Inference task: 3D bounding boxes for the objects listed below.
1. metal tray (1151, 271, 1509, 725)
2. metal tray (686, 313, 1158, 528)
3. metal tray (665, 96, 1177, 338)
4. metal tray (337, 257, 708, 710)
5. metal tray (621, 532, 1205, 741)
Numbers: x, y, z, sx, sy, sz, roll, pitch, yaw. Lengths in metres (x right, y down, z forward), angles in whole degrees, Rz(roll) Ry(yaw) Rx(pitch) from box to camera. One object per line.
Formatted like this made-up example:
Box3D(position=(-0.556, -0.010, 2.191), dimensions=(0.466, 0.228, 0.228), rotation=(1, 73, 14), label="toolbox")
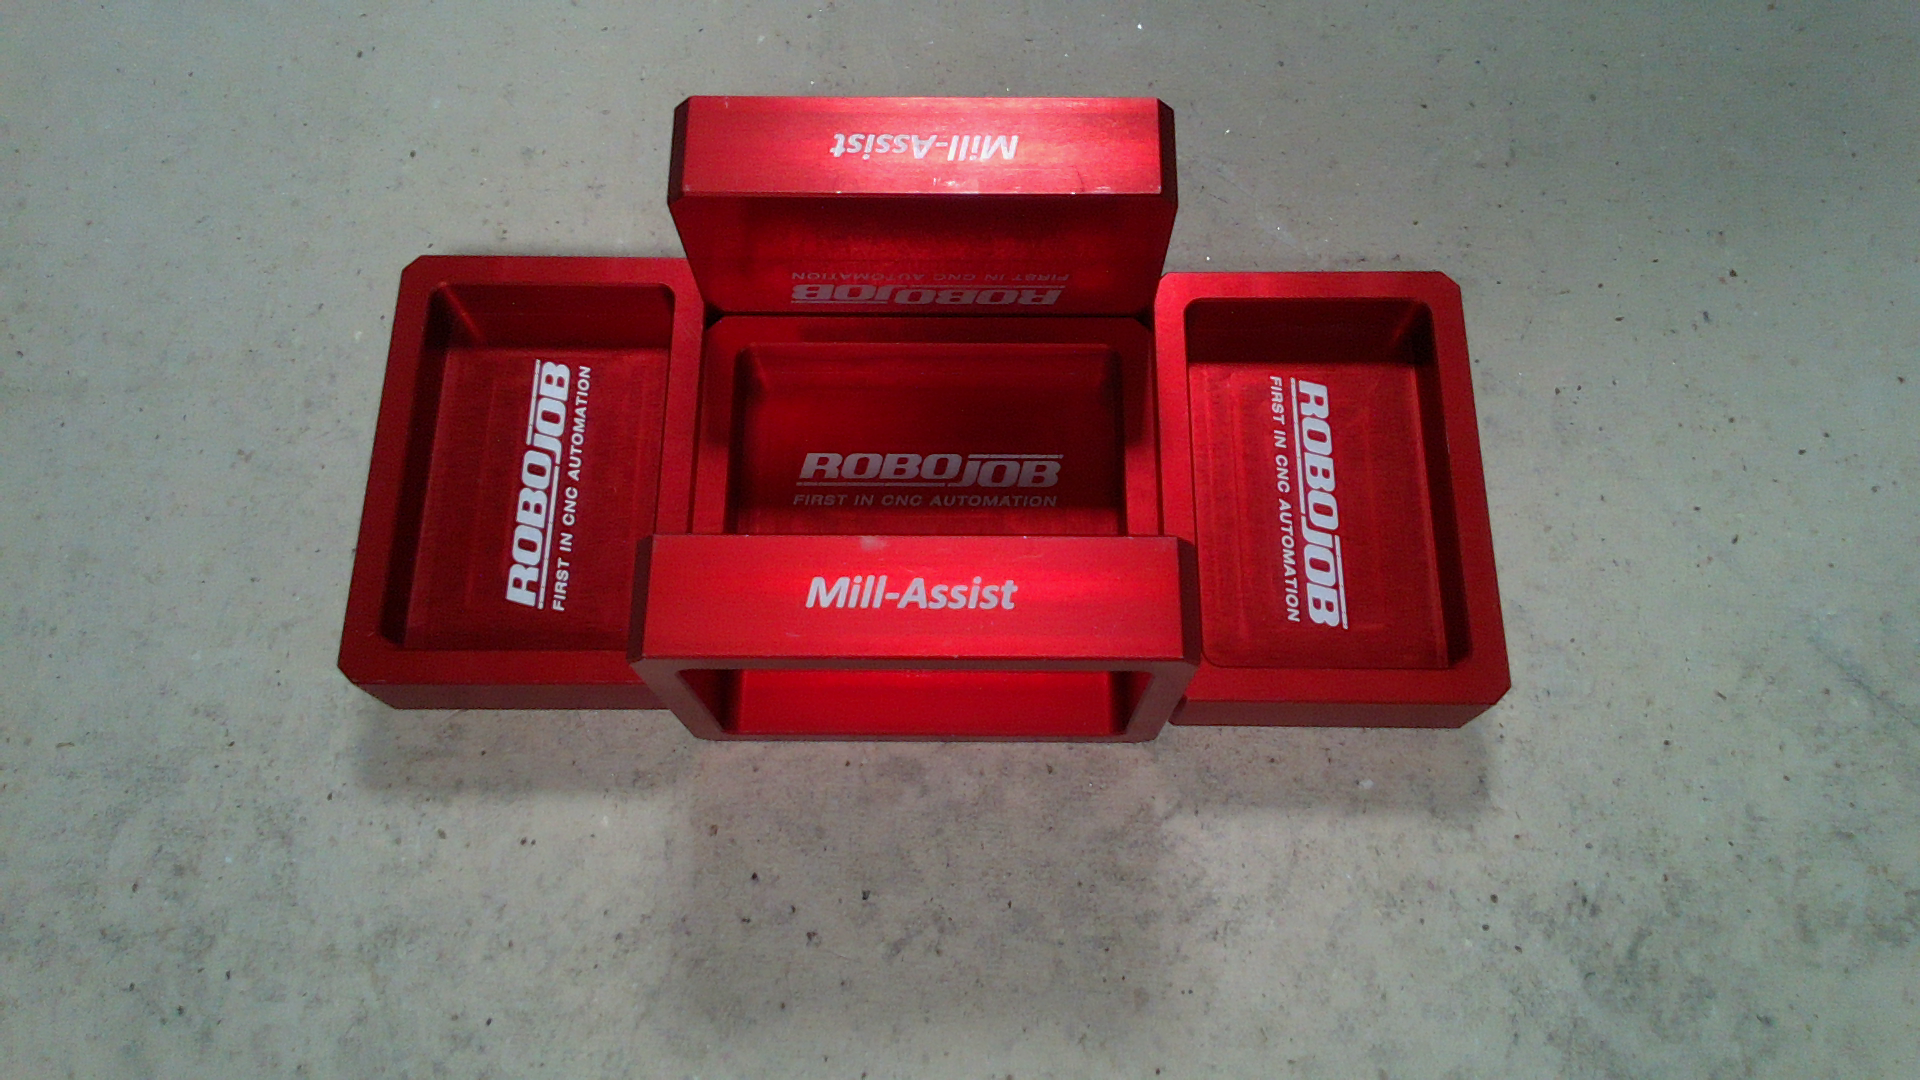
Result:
Box3D(position=(0.101, -0.013, 0.397), dimensions=(0.090, 0.030, 0.130), rotation=(0, 70, 0), label="metal tray")
Box3D(position=(-0.010, -0.018, 0.399), dimensions=(0.130, 0.030, 0.090), rotation=(1, 70, 0), label="metal tray")
Box3D(position=(-0.010, -0.085, 0.391), dimensions=(0.130, 0.090, 0.030), rotation=(0, 70, 0), label="metal tray")
Box3D(position=(-0.119, -0.018, 0.398), dimensions=(0.090, 0.030, 0.130), rotation=(0, 70, 0), label="metal tray")
Box3D(position=(-0.010, 0.027, 0.349), dimensions=(0.130, 0.090, 0.030), rotation=(0, 70, 0), label="metal tray")
